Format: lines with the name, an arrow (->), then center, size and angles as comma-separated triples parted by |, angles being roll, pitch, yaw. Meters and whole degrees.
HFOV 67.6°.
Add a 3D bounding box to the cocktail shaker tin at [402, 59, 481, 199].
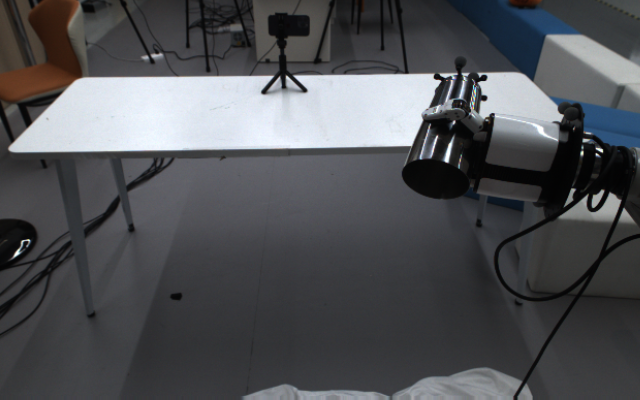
cocktail shaker tin -> 0.182, -0.097, 0.692 | 0.093, 0.093, 0.170 | 14, 60, 17
